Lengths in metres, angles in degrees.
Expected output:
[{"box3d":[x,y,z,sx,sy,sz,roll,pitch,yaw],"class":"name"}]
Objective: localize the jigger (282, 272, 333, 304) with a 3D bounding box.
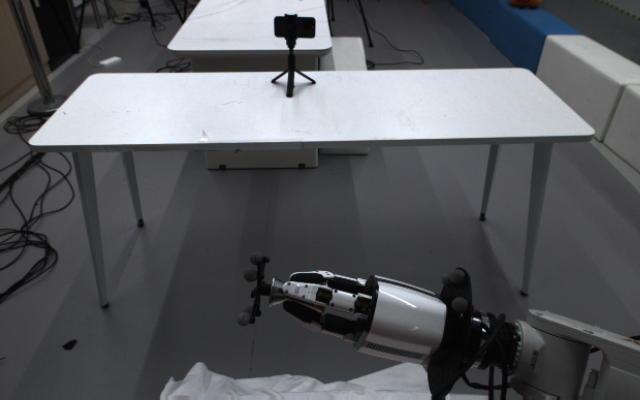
[{"box3d":[-0.019,0.115,0.604,0.071,0.043,0.043,7,35,2],"class":"jigger"}]
